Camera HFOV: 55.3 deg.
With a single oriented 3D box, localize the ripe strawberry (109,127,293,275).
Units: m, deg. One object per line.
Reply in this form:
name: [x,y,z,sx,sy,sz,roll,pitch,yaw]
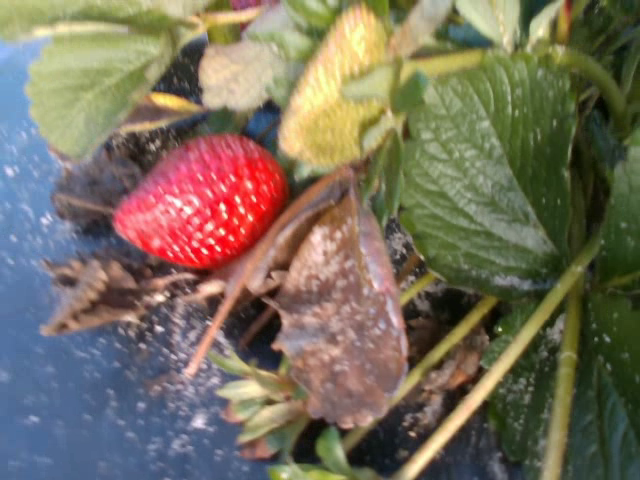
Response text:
ripe strawberry: [-0.024,-0.006,0.108,0.031,0.026,0.030,30,43,34]
